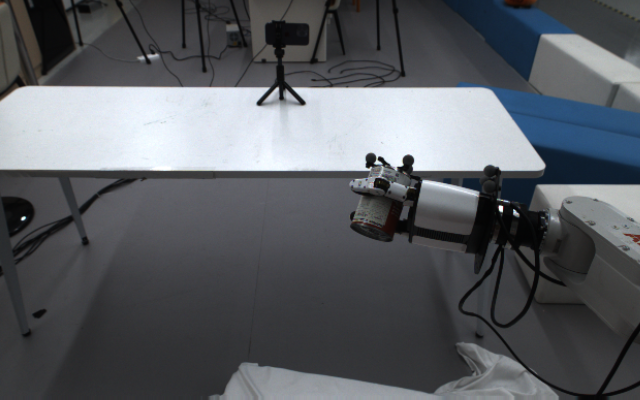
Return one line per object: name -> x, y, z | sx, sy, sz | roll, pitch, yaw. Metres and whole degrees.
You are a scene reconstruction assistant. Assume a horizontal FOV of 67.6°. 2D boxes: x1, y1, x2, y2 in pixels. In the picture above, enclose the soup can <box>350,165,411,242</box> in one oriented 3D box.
soup can -> 0.095, 0.004, 0.742 | 0.067, 0.067, 0.101 | 15, 74, 18
